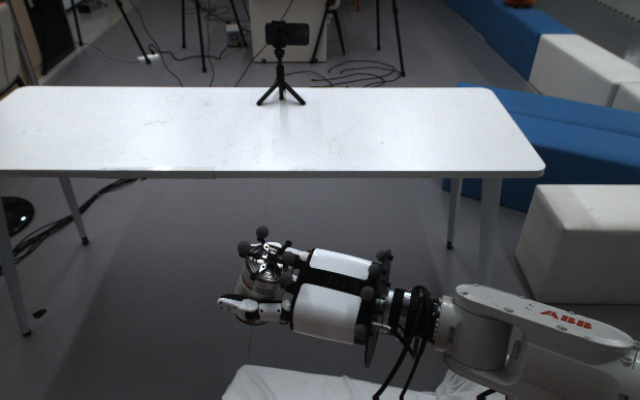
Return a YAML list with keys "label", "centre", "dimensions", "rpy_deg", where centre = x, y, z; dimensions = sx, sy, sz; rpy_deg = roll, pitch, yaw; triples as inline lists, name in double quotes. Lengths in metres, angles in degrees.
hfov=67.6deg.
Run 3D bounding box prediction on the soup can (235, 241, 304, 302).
- label: "soup can"
  centre: [-0.080, 0.120, 0.674]
  dimensions: [0.067, 0.101, 0.067]
  rpy_deg: [14, 39, -12]
